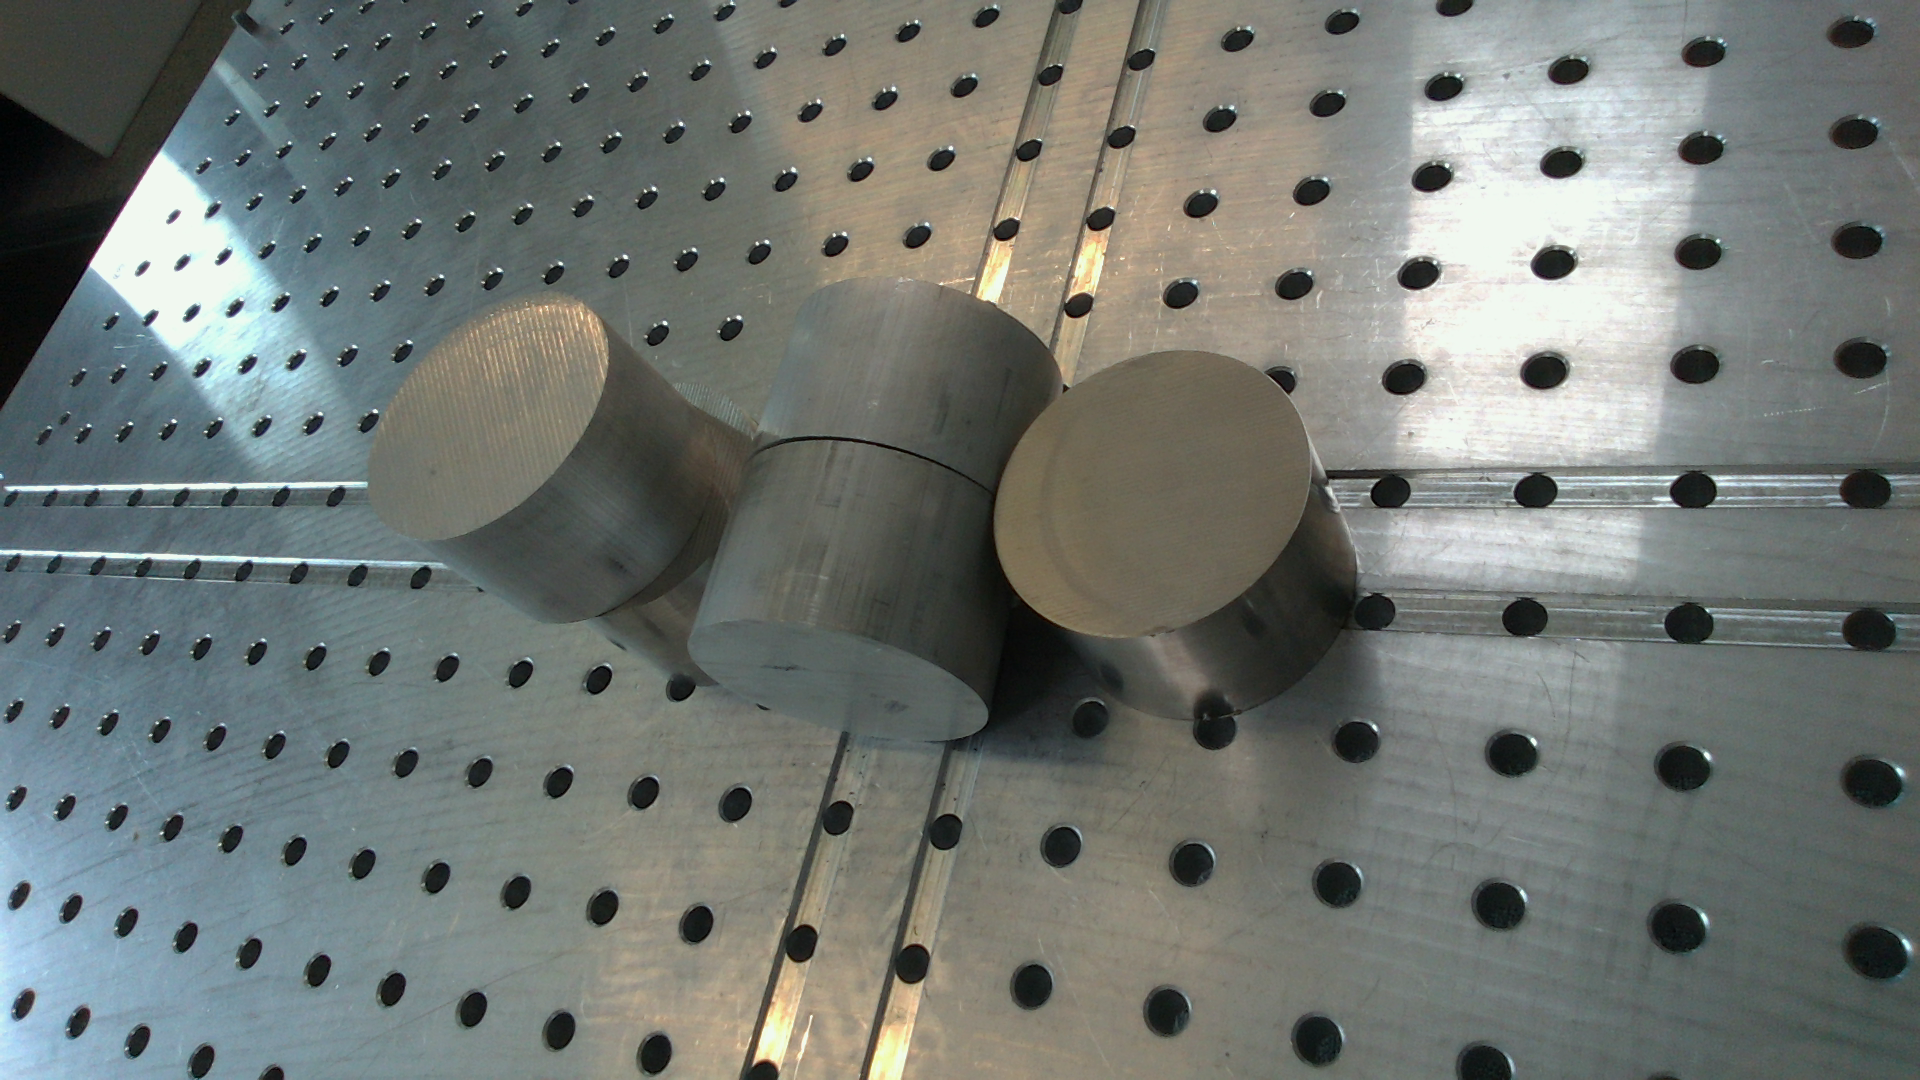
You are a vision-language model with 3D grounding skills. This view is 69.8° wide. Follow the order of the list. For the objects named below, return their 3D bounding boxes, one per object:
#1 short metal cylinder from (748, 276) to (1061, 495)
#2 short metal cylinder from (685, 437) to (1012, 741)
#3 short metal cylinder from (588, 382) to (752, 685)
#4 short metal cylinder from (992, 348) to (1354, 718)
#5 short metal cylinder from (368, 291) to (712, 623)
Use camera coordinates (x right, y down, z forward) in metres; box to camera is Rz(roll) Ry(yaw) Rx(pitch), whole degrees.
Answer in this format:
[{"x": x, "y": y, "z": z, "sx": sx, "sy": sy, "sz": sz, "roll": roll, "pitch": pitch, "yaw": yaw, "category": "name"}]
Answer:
[{"x": -0.015, "y": -0.030, "z": 0.388, "sx": 0.080, "sy": 0.080, "sz": 0.050, "roll": 1, "pitch": 63, "yaw": 29, "category": "short metal cylinder"}, {"x": -0.027, "y": 0.015, "z": 0.366, "sx": 0.080, "sy": 0.080, "sz": 0.050, "roll": -1, "pitch": 61, "yaw": 28, "category": "short metal cylinder"}, {"x": -0.085, "y": -0.002, "z": 0.428, "sx": 0.080, "sy": 0.050, "sz": 0.080, "roll": -13, "pitch": 56, "yaw": 21, "category": "short metal cylinder"}, {"x": 0.055, "y": -0.001, "z": 0.351, "sx": 0.080, "sy": 0.050, "sz": 0.080, "roll": -13, "pitch": 56, "yaw": 21, "category": "short metal cylinder"}, {"x": -0.119, "y": -0.023, "z": 0.392, "sx": 0.080, "sy": 0.050, "sz": 0.080, "roll": -13, "pitch": 56, "yaw": 21, "category": "short metal cylinder"}]
